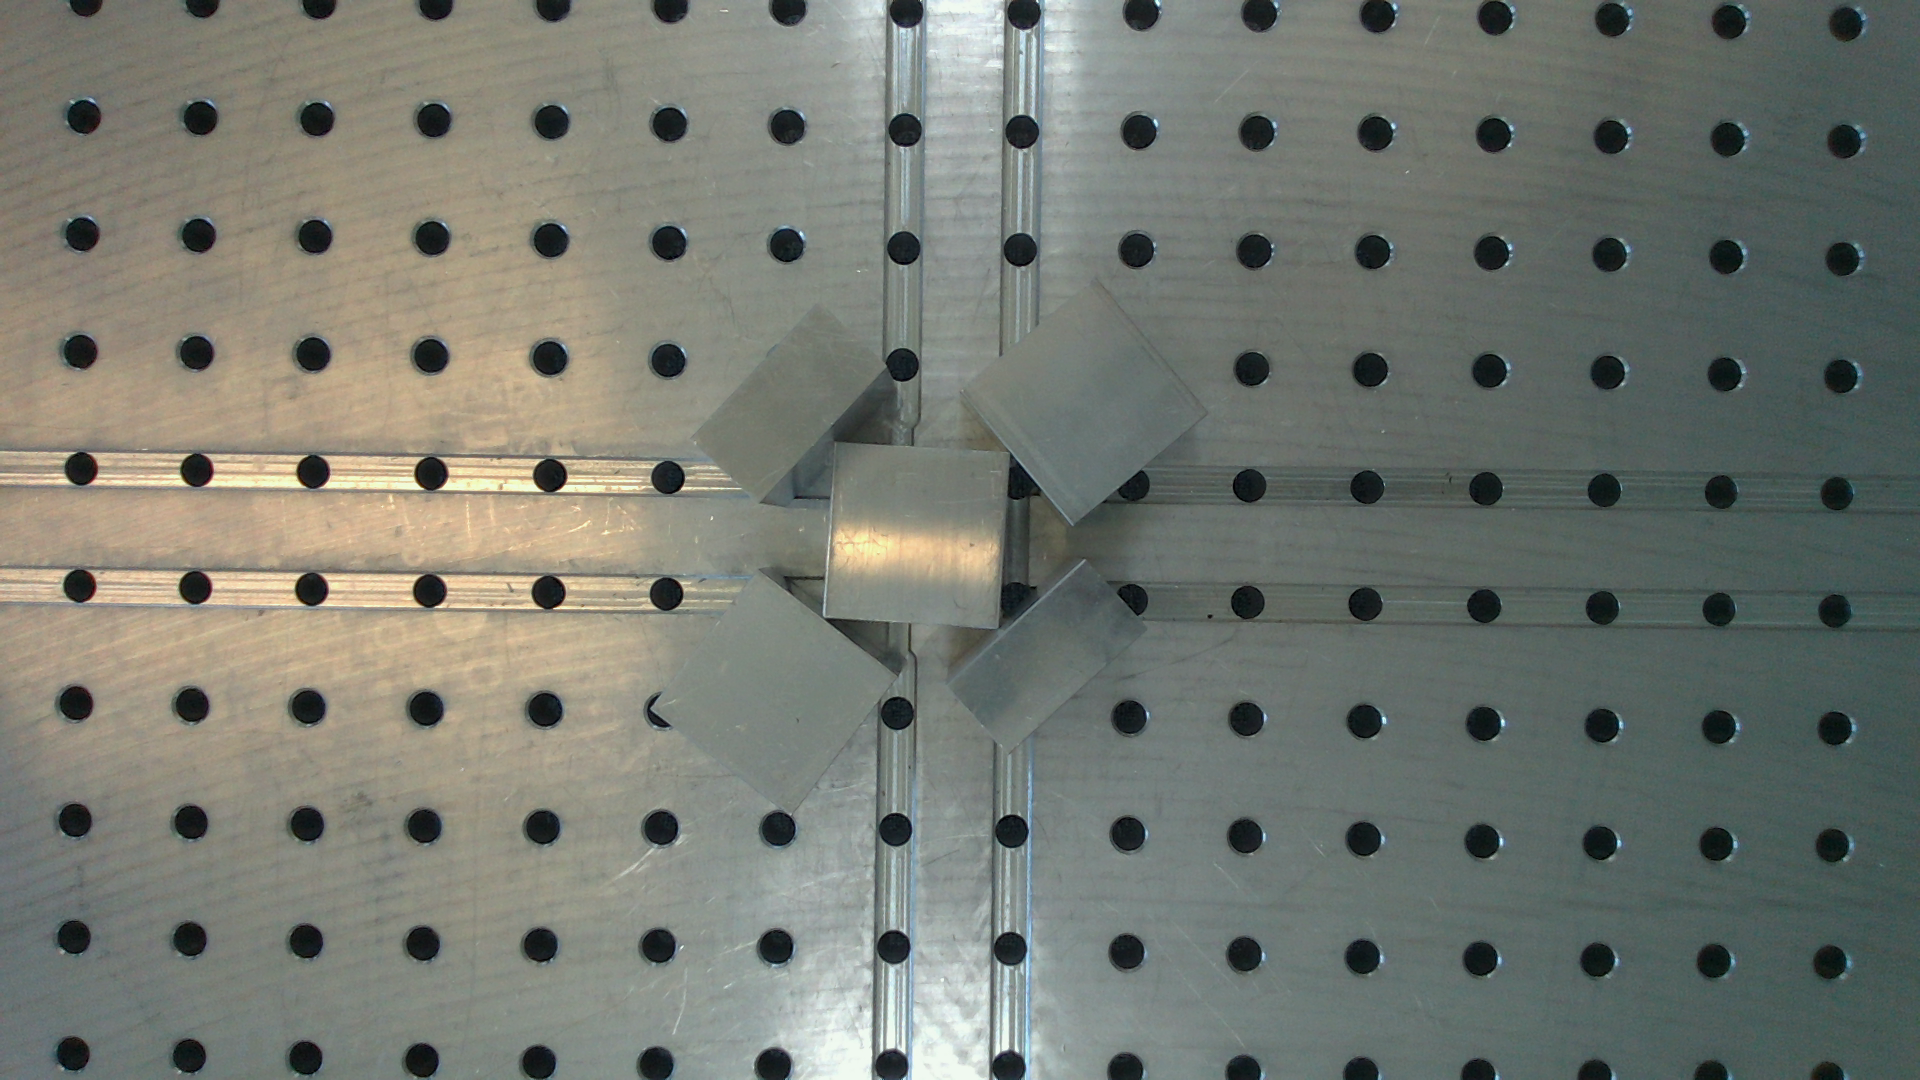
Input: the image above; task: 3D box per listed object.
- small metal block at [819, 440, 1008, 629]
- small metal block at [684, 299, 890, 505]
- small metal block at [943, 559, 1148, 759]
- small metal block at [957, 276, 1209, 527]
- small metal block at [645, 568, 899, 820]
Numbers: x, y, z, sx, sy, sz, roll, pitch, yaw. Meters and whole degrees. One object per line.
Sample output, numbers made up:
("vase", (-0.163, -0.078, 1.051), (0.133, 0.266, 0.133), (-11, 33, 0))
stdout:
("small metal block", (-0.013, -0.001, 0.397), (0.050, 0.025, 0.050), (3, 89, 1))
("small metal block", (-0.046, -0.037, 0.384), (0.025, 0.050, 0.050), (44, 91, -1))
("small metal block", (0.023, 0.031, 0.385), (0.050, 0.050, 0.025), (-42, 90, 0))
("small metal block", (0.034, -0.039, 0.397), (0.050, 0.025, 0.050), (-40, 90, 0))
("small metal block", (-0.053, 0.043, 0.397), (0.050, 0.025, 0.050), (38, 90, -1))
